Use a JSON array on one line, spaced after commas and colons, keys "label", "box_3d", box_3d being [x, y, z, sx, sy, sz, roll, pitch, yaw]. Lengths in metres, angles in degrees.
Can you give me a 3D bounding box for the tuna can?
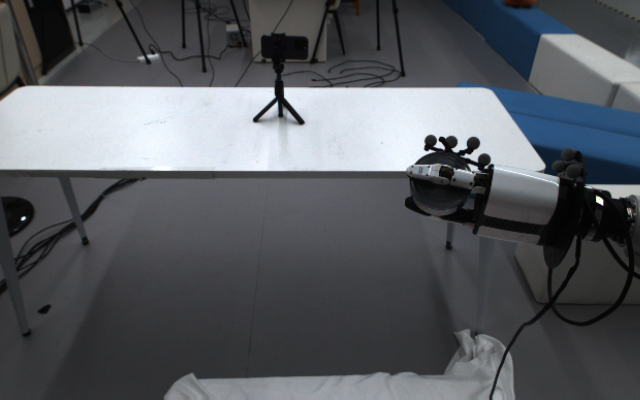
[{"label": "tuna can", "box_3d": [0.170, -0.025, 0.678, 0.085, 0.034, 0.085, -4, 66, 10]}]
